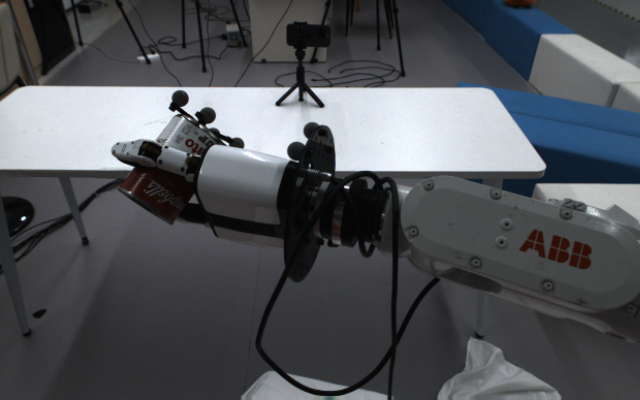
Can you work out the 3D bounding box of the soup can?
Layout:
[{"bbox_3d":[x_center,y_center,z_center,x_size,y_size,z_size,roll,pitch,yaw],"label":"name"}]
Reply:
[{"bbox_3d":[-0.157,-0.032,0.521,0.067,0.067,0.101,24,73,28],"label":"soup can"}]
